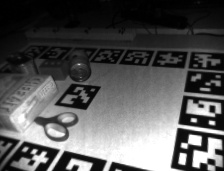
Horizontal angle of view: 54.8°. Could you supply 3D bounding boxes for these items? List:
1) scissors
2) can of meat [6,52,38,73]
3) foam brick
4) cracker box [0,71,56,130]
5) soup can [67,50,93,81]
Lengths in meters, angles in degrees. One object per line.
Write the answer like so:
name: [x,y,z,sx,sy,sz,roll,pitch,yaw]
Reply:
scissors: [-0.188,0.090,0.549,0.201,0.016,0.087,1,42,16]
can of meat: [-0.294,-0.055,0.709,0.100,0.084,0.058,16,48,29]
foam brick: [-0.192,-0.055,0.713,0.077,0.052,0.052,-3,41,12]
cracker box: [-0.291,0.035,0.591,0.212,0.072,0.164,-2,40,18]
soup can: [-0.107,-0.068,0.705,0.068,0.068,0.101,-20,35,-8]
